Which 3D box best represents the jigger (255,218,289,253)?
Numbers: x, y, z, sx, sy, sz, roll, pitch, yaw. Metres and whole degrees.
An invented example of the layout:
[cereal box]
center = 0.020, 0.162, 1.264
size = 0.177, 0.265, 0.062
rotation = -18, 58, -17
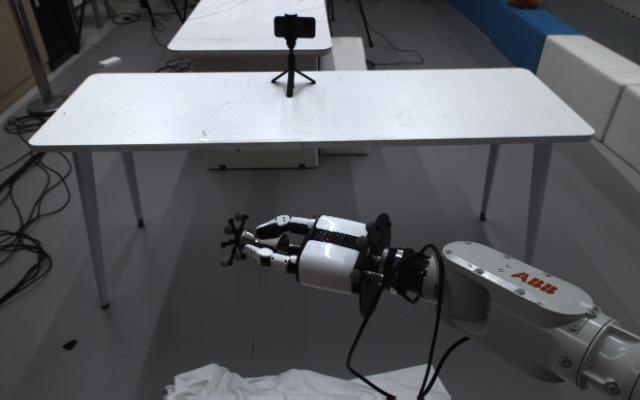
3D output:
[jigger]
center = -0.084, 0.068, 0.778
size = 0.071, 0.043, 0.043
rotation = 7, 34, 23
